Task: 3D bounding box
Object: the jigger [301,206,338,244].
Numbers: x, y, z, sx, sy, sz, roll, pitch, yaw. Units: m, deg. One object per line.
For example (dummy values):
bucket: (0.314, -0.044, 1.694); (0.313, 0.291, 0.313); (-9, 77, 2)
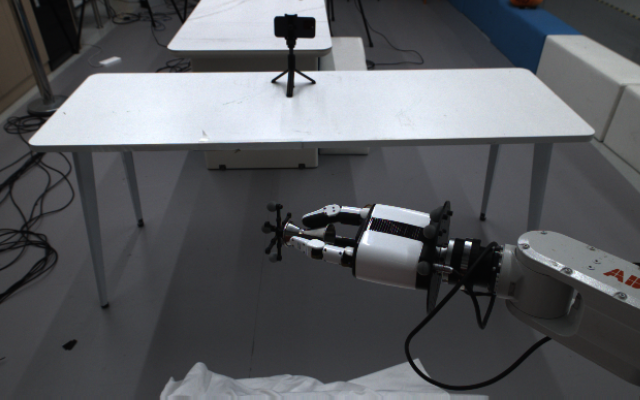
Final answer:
jigger: (-0.010, 0.051, 0.721); (0.071, 0.043, 0.043); (4, 33, 23)
